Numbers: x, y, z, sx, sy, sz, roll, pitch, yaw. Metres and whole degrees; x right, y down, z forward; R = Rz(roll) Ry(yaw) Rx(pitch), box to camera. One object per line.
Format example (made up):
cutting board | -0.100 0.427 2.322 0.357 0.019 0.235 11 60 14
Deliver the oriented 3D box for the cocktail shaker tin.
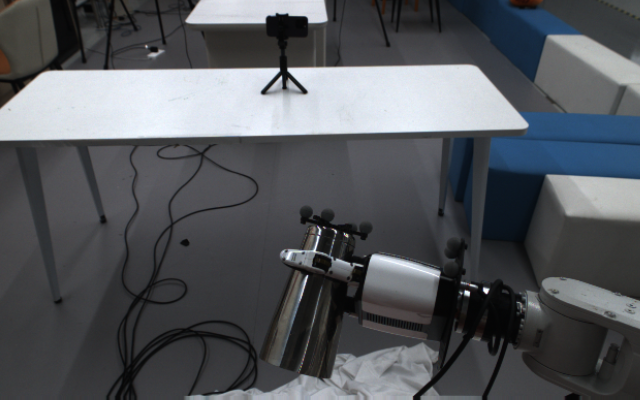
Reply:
cocktail shaker tin | -0.005 0.120 0.604 0.093 0.093 0.170 13 77 15
